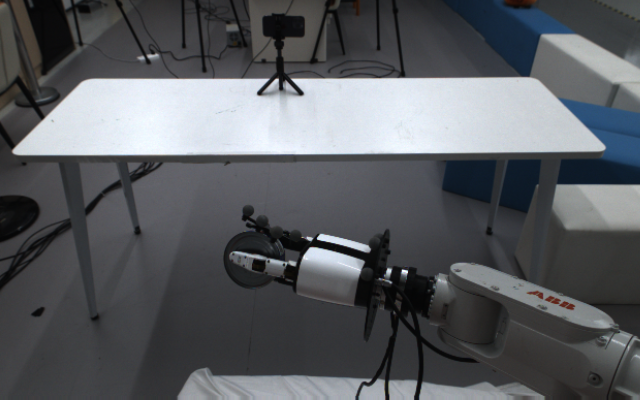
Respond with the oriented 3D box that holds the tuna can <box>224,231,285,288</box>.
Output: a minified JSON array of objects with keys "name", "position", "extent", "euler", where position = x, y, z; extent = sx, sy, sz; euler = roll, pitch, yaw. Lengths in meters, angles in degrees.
[{"name":"tuna can","position":[-0.094,0.086,0.711],"extent":[0.085,0.085,0.034],"euler":[10,4,11]}]
